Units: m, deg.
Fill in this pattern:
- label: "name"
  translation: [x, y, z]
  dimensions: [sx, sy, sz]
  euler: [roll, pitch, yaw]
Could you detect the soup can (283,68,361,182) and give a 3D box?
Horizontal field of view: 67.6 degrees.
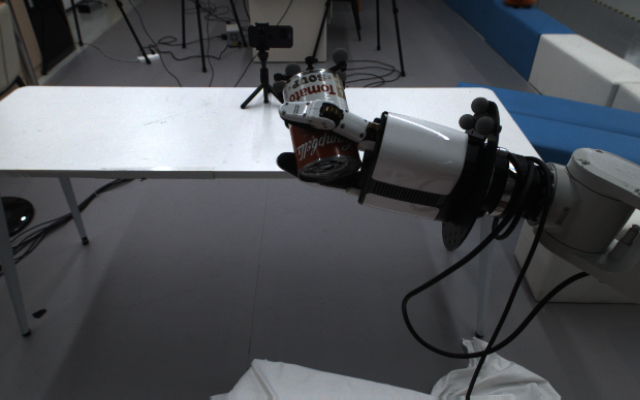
- label: "soup can"
  translation: [0.003, -0.078, 0.515]
  dimensions: [0.067, 0.067, 0.101]
  euler: [-8, 74, -14]
